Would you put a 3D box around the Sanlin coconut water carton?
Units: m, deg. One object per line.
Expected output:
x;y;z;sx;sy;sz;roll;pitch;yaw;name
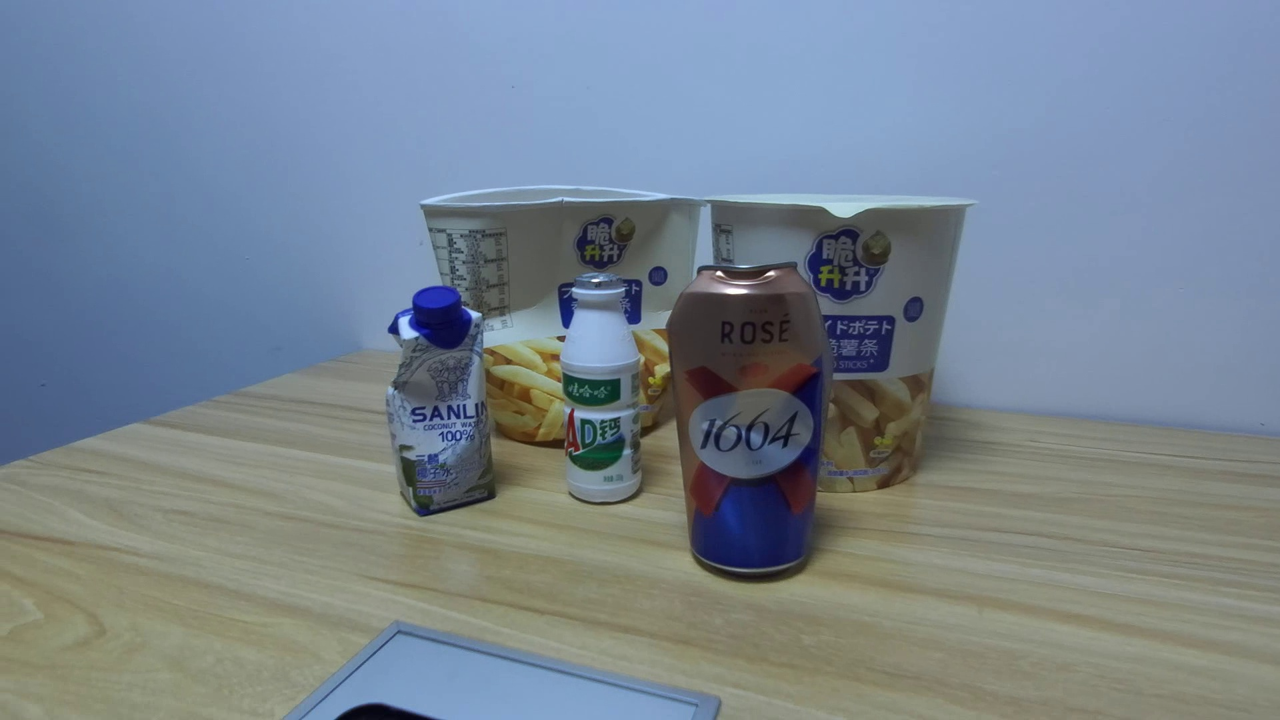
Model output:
-0.133;0.023;0.460;0.061;0.143;0.069;-10;18;-30;Sanlin coconut water carton

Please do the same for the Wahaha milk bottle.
-0.025;0.019;0.465;0.053;0.147;0.053;1;14;0;Wahaha milk bottle

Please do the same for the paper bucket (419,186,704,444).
-0.049;-0.042;0.596;0.147;0.199;0.219;11;18;37;paper bucket

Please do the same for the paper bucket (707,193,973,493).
0.138;-0.020;0.525;0.198;0.194;0.198;-1;14;0;paper bucket

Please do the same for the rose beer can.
0.060;0.031;0.383;0.069;0.168;0.069;6;14;35;rose beer can
